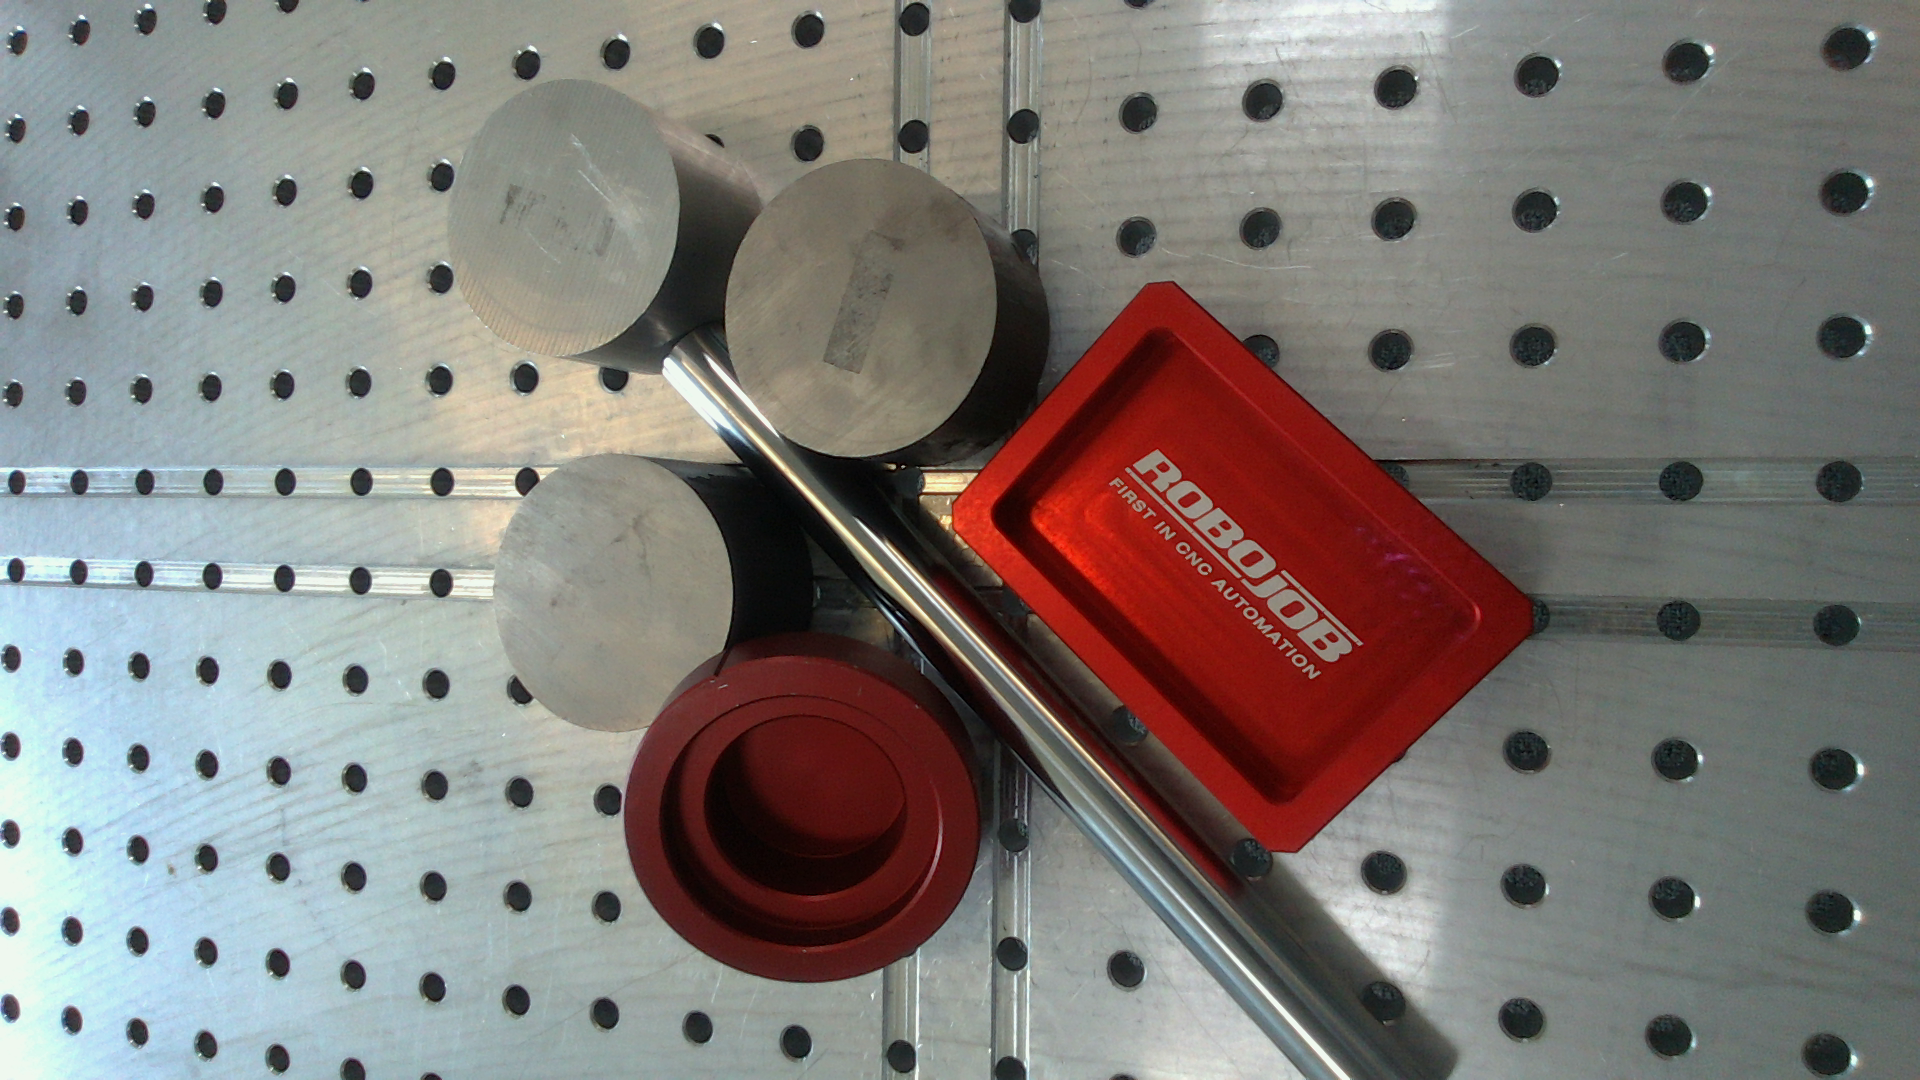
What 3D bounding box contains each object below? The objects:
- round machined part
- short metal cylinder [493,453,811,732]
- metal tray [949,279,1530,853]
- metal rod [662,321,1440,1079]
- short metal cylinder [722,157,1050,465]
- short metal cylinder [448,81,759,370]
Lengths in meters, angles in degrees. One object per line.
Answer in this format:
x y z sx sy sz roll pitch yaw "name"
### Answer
-0.043 0.072 0.394 0.098 0.042 0.098 0 105 1 "round machined part"
-0.093 0.015 0.418 0.080 0.050 0.080 0 90 20 "short metal cylinder"
0.072 0.006 0.369 0.130 0.030 0.090 45 105 14 "metal tray"
0.018 0.046 0.392 0.300 0.025 0.025 46 104 14 "metal rod"
-0.020 -0.062 0.391 0.080 0.050 0.080 0 90 20 "short metal cylinder"
-0.108 -0.094 0.424 0.080 0.050 0.080 0 90 20 "short metal cylinder"
